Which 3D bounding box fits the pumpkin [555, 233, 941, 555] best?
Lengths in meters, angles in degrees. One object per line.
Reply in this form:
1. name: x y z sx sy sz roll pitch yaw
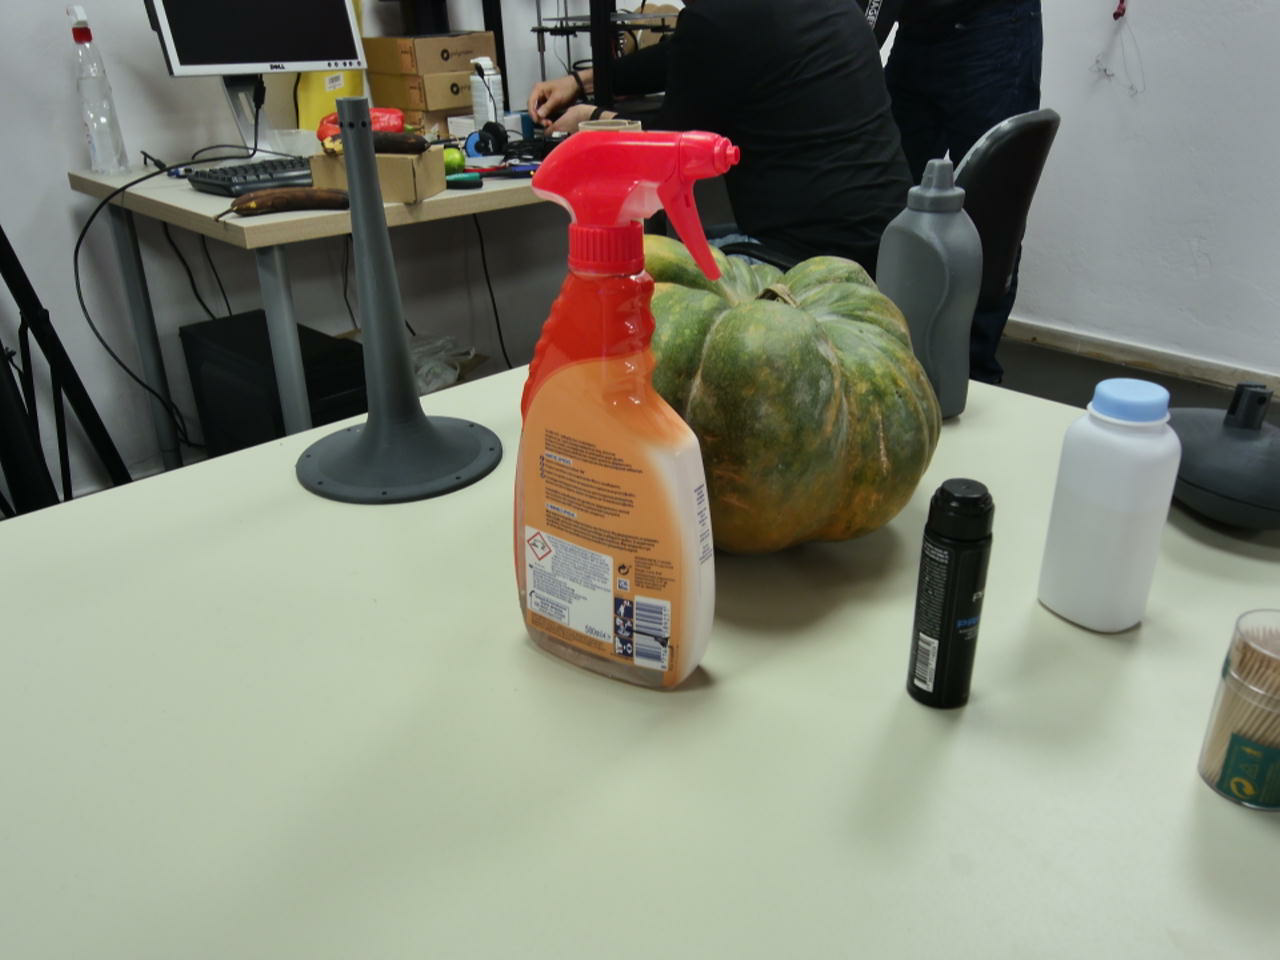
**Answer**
1. pumpkin: 0.066 -0.058 0.630 0.237 0.173 0.270 -2 24 -5
